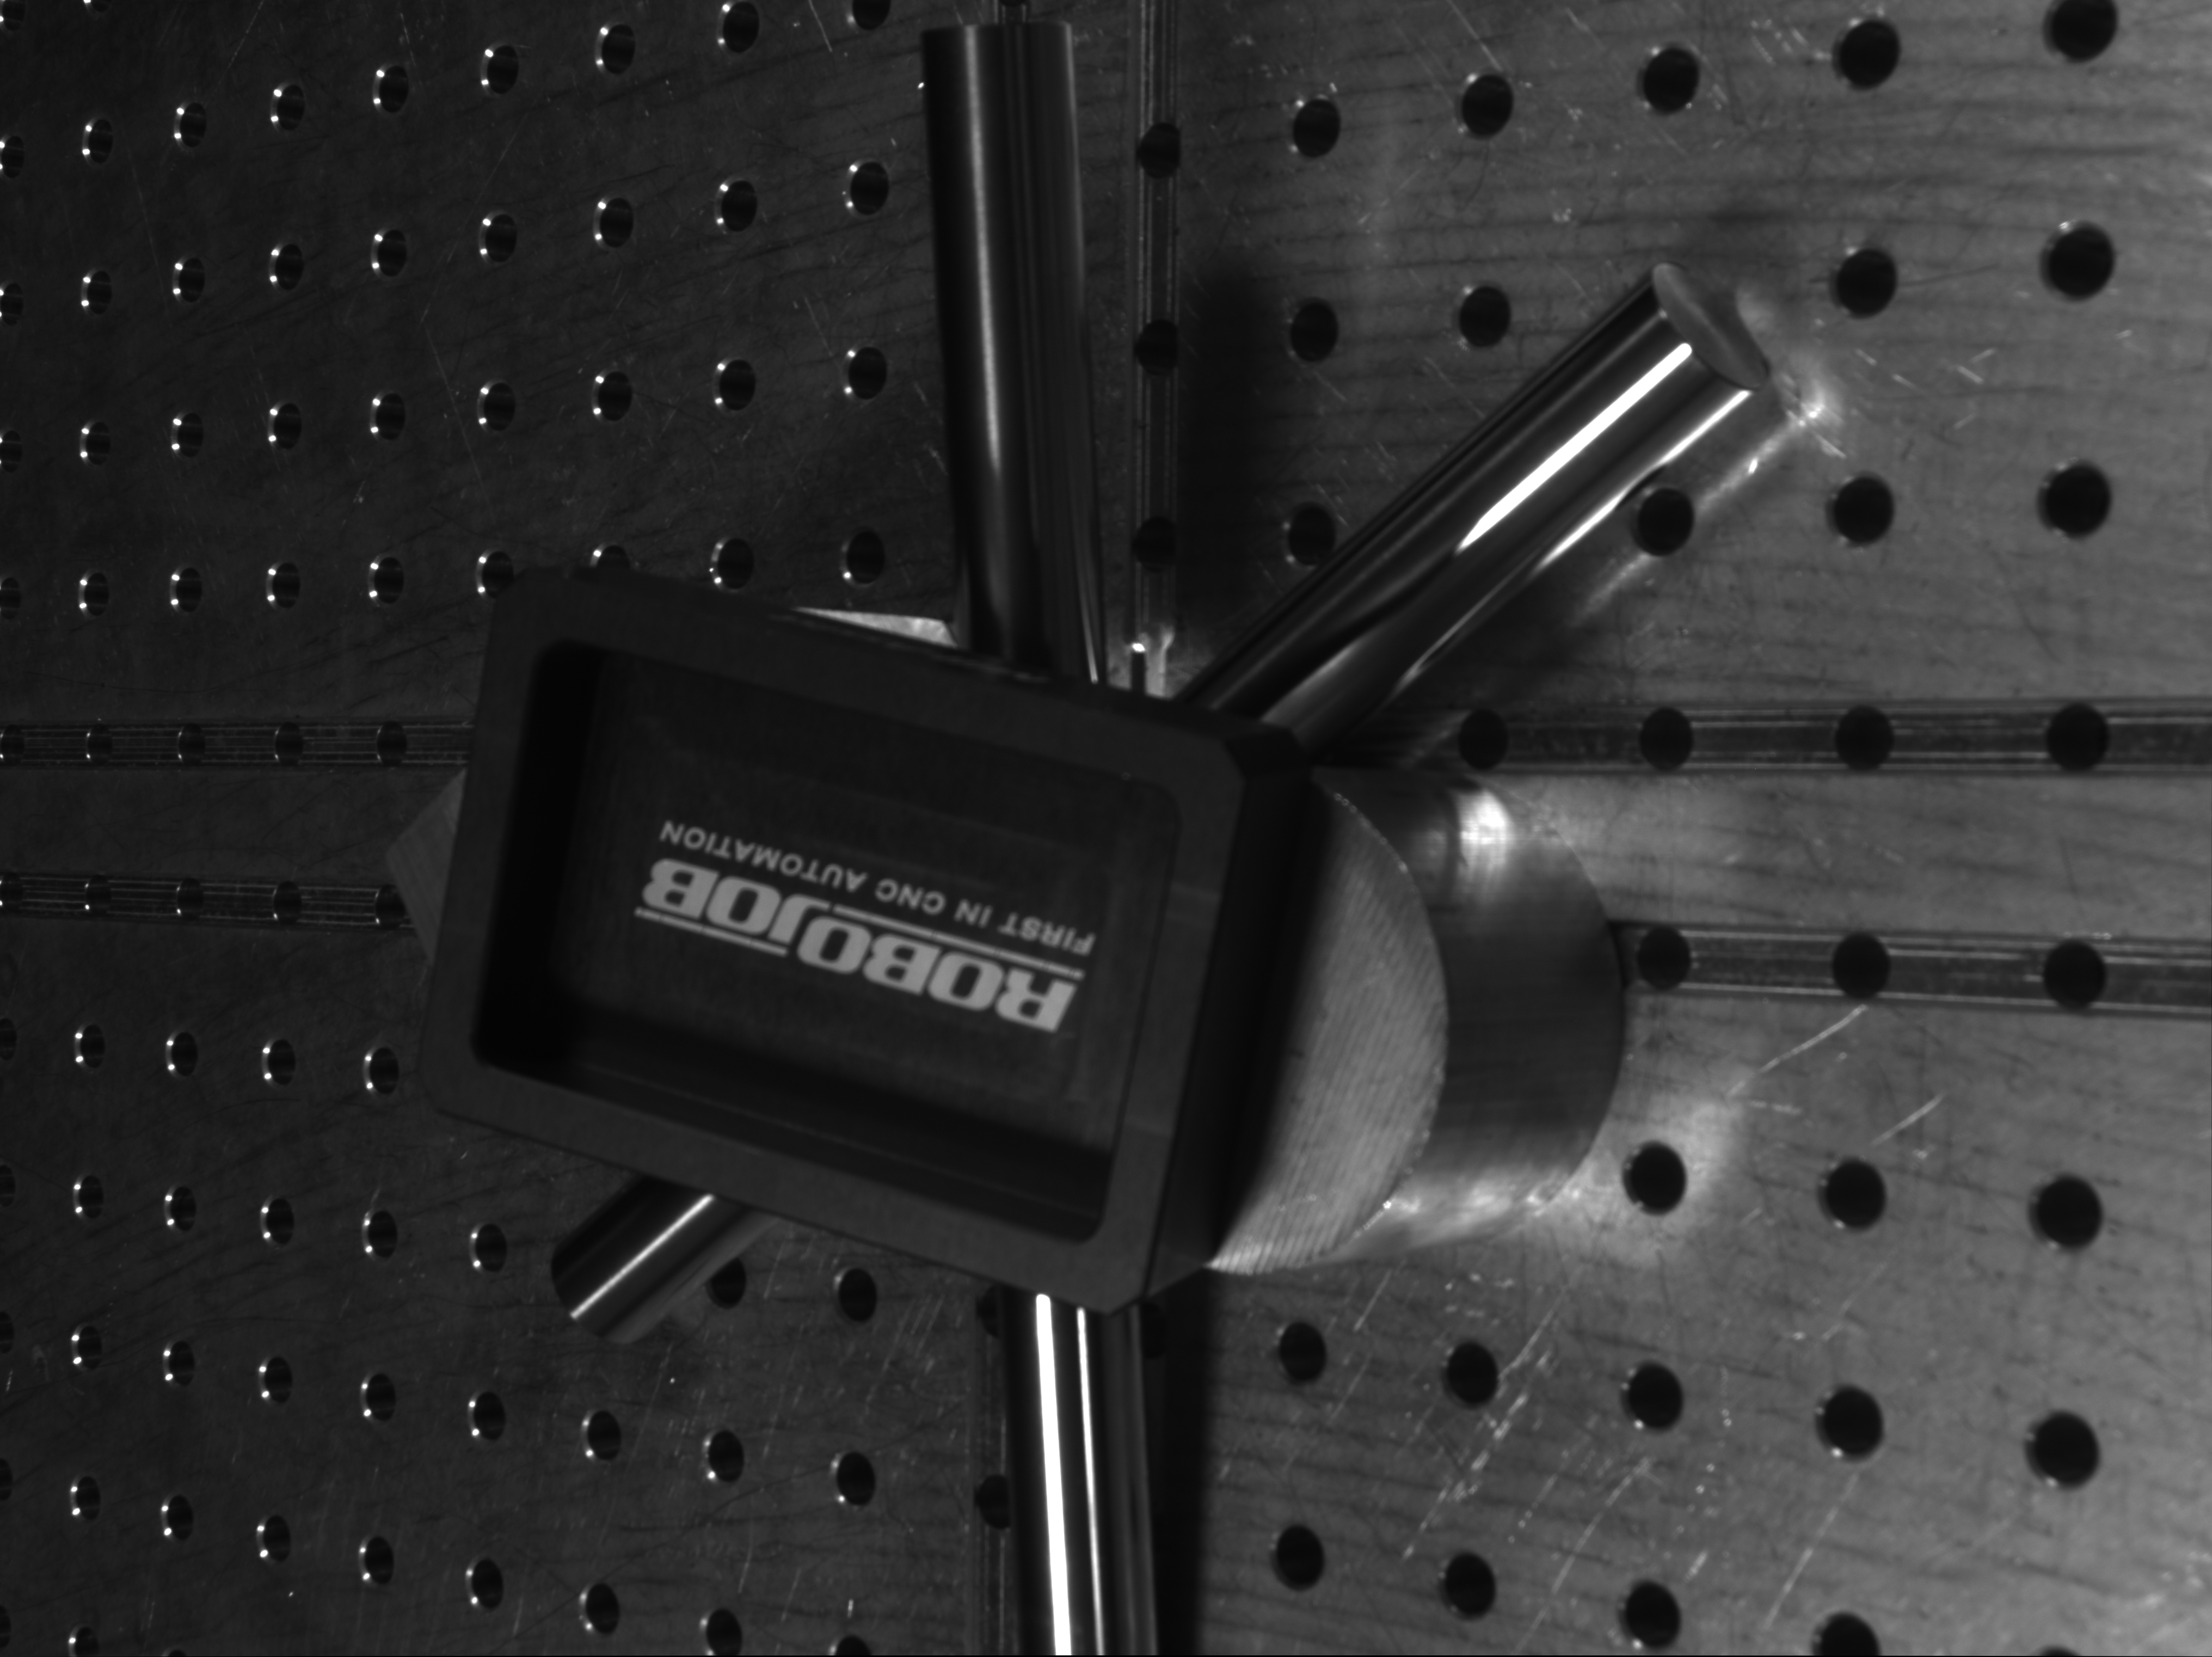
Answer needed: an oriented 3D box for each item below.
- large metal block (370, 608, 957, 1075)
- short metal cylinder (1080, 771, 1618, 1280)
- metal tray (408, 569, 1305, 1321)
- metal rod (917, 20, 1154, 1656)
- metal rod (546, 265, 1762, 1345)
[{"bbox_3d":[-0.071,0.004,0.661,0.080,0.080,0.050,-41,65,32],"label":"large metal block"},{"bbox_3d":[0.035,0.031,0.593,0.080,0.050,0.080,0,90,39],"label":"short metal cylinder"},{"bbox_3d":[-0.041,0.016,0.578,0.130,0.030,0.090,14,99,20],"label":"metal tray"},{"bbox_3d":[-0.011,0.018,0.619,0.025,0.025,0.300,5,102,39],"label":"metal rod"},{"bbox_3d":[-0.004,0.007,0.643,0.300,0.025,0.025,-41,65,32],"label":"metal rod"}]
